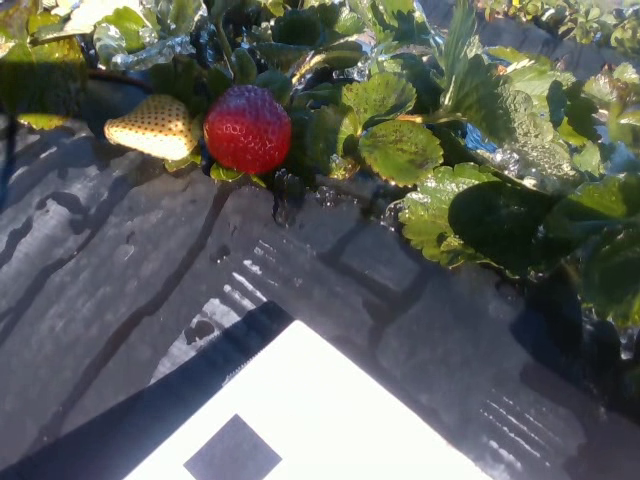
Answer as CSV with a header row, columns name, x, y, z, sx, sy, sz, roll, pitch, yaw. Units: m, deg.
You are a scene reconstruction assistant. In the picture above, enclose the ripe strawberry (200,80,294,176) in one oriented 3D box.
name,x,y,z,sx,sy,sz,roll,pitch,yaw
ripe strawberry,-0.038,-0.048,0.276,0.043,0.046,0.061,22,14,19
